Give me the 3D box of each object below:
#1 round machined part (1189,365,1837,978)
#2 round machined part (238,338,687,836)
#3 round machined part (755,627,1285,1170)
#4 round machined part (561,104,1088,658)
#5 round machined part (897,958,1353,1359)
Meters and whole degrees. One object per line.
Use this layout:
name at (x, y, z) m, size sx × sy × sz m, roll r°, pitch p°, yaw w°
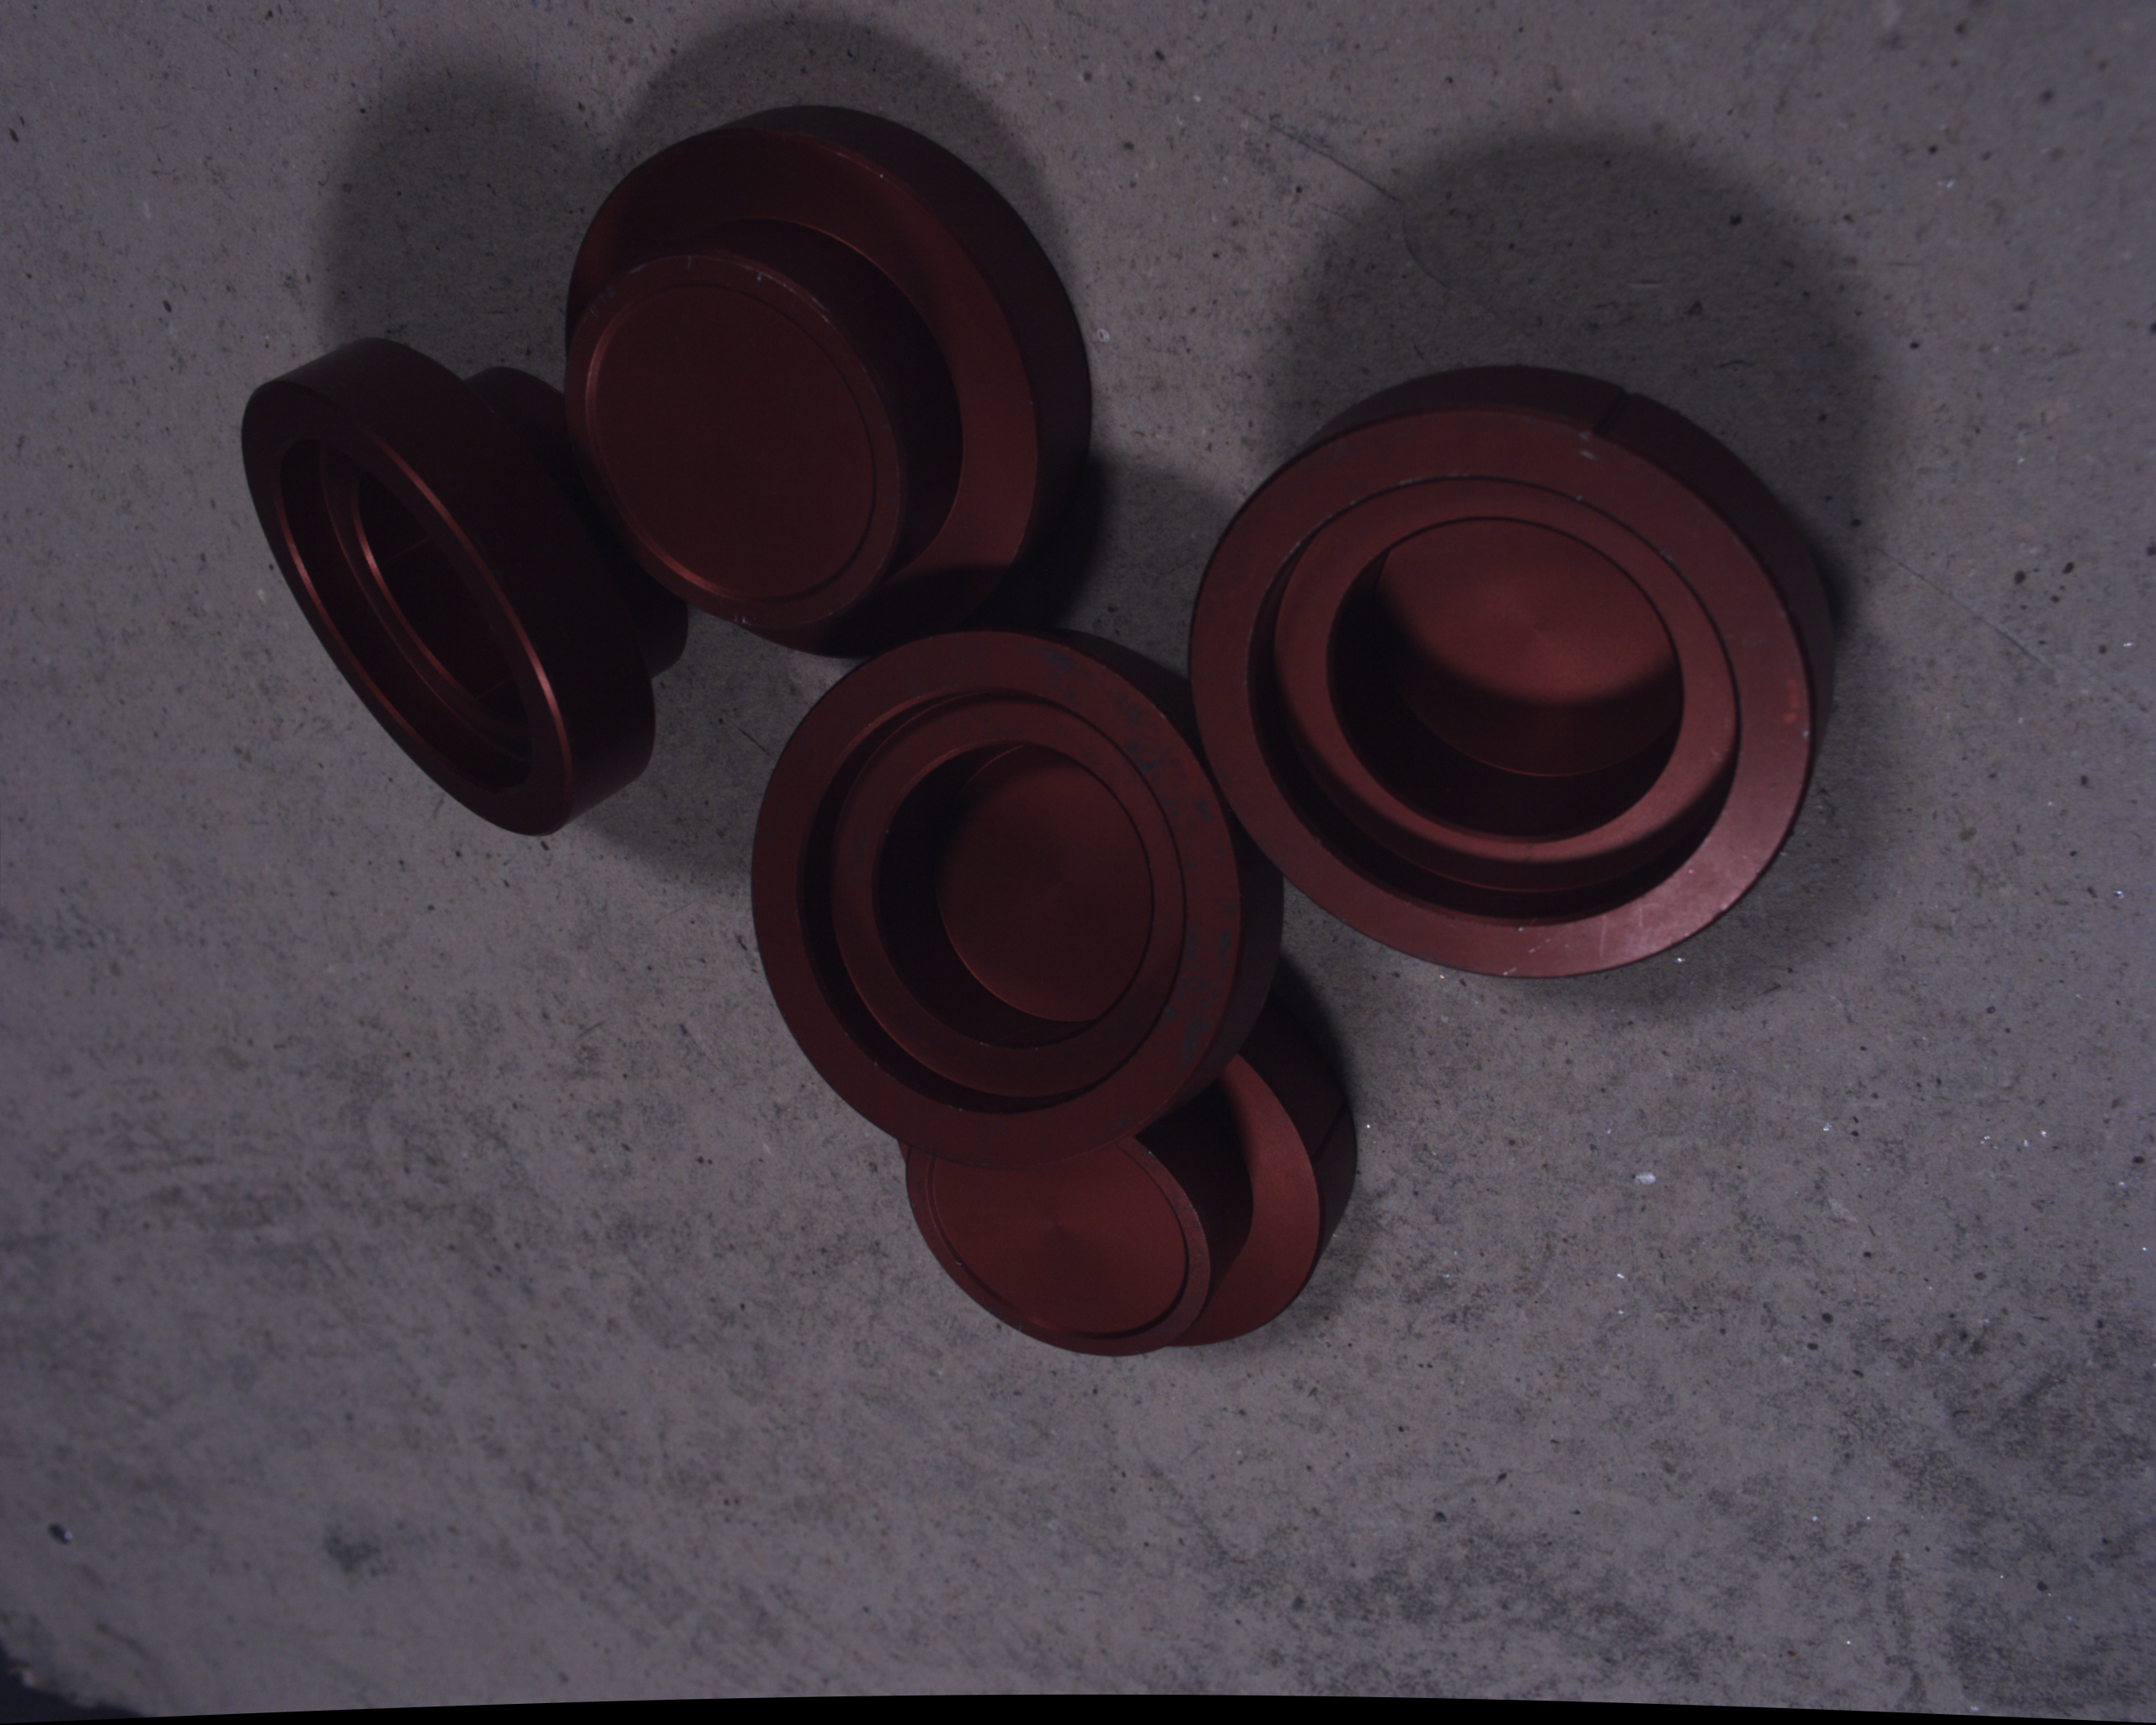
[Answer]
round machined part at (0.071, -0.033, 0.338) m, size 0.098 × 0.042 × 0.097 m, roll 13°, pitch 124°, yaw 20°
round machined part at (-0.115, -0.057, 0.407) m, size 0.098 × 0.042 × 0.097 m, roll 33°, pitch 146°, yaw 27°
round machined part at (-0.008, 0.005, 0.389) m, size 0.098 × 0.042 × 0.097 m, roll 3°, pitch 96°, yaw 25°
round machined part at (-0.051, -0.081, 0.372) m, size 0.098 × 0.042 × 0.097 m, roll 13°, pitch 124°, yaw 20°
round machined part at (0.004, 0.063, 0.432) m, size 0.098 × 0.042 × 0.097 m, roll 13°, pitch 124°, yaw 20°
